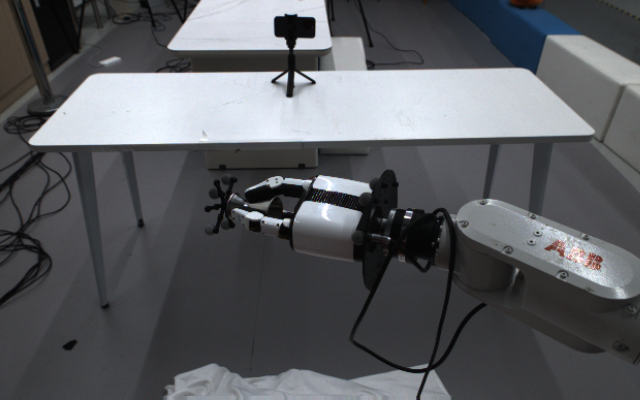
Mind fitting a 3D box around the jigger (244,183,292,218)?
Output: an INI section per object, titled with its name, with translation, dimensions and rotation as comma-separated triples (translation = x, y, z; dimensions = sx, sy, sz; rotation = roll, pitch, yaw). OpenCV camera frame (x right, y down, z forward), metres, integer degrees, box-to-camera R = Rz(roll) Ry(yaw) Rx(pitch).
[jigger]
translation = -0.088, 0.010, 0.688
dimensions = 0.071, 0.043, 0.043
rotation = 7, 34, 23
